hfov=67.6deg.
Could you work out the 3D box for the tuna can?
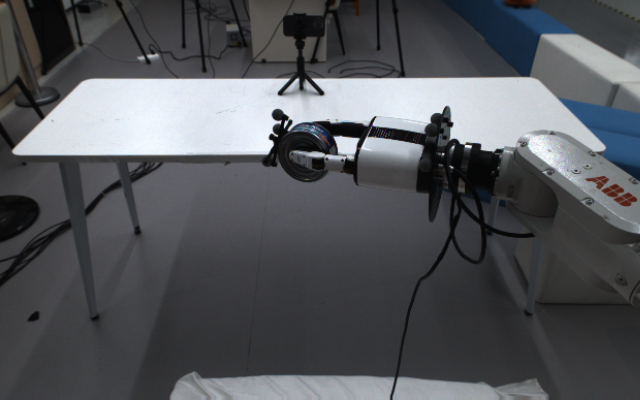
[{"bbox_3d":[-0.017,-0.067,0.717,0.085,0.085,0.034,12,30,15],"label":"tuna can"}]
